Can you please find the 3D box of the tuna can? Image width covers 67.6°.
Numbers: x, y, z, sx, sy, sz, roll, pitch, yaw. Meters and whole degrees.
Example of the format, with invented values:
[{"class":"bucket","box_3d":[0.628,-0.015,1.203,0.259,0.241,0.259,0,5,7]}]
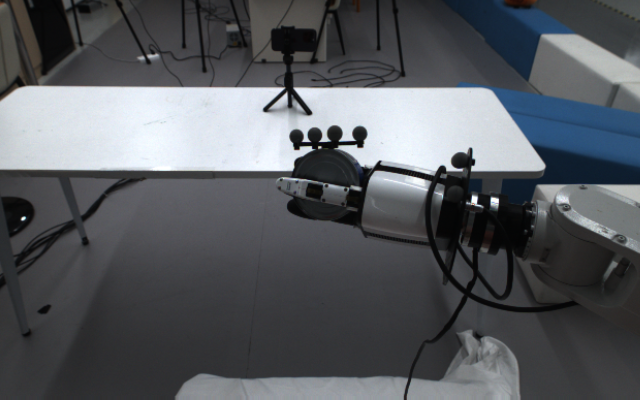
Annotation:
[{"class":"tuna can","box_3d":[0.011,-0.020,0.585,0.085,0.085,0.034,15,10,18]}]
